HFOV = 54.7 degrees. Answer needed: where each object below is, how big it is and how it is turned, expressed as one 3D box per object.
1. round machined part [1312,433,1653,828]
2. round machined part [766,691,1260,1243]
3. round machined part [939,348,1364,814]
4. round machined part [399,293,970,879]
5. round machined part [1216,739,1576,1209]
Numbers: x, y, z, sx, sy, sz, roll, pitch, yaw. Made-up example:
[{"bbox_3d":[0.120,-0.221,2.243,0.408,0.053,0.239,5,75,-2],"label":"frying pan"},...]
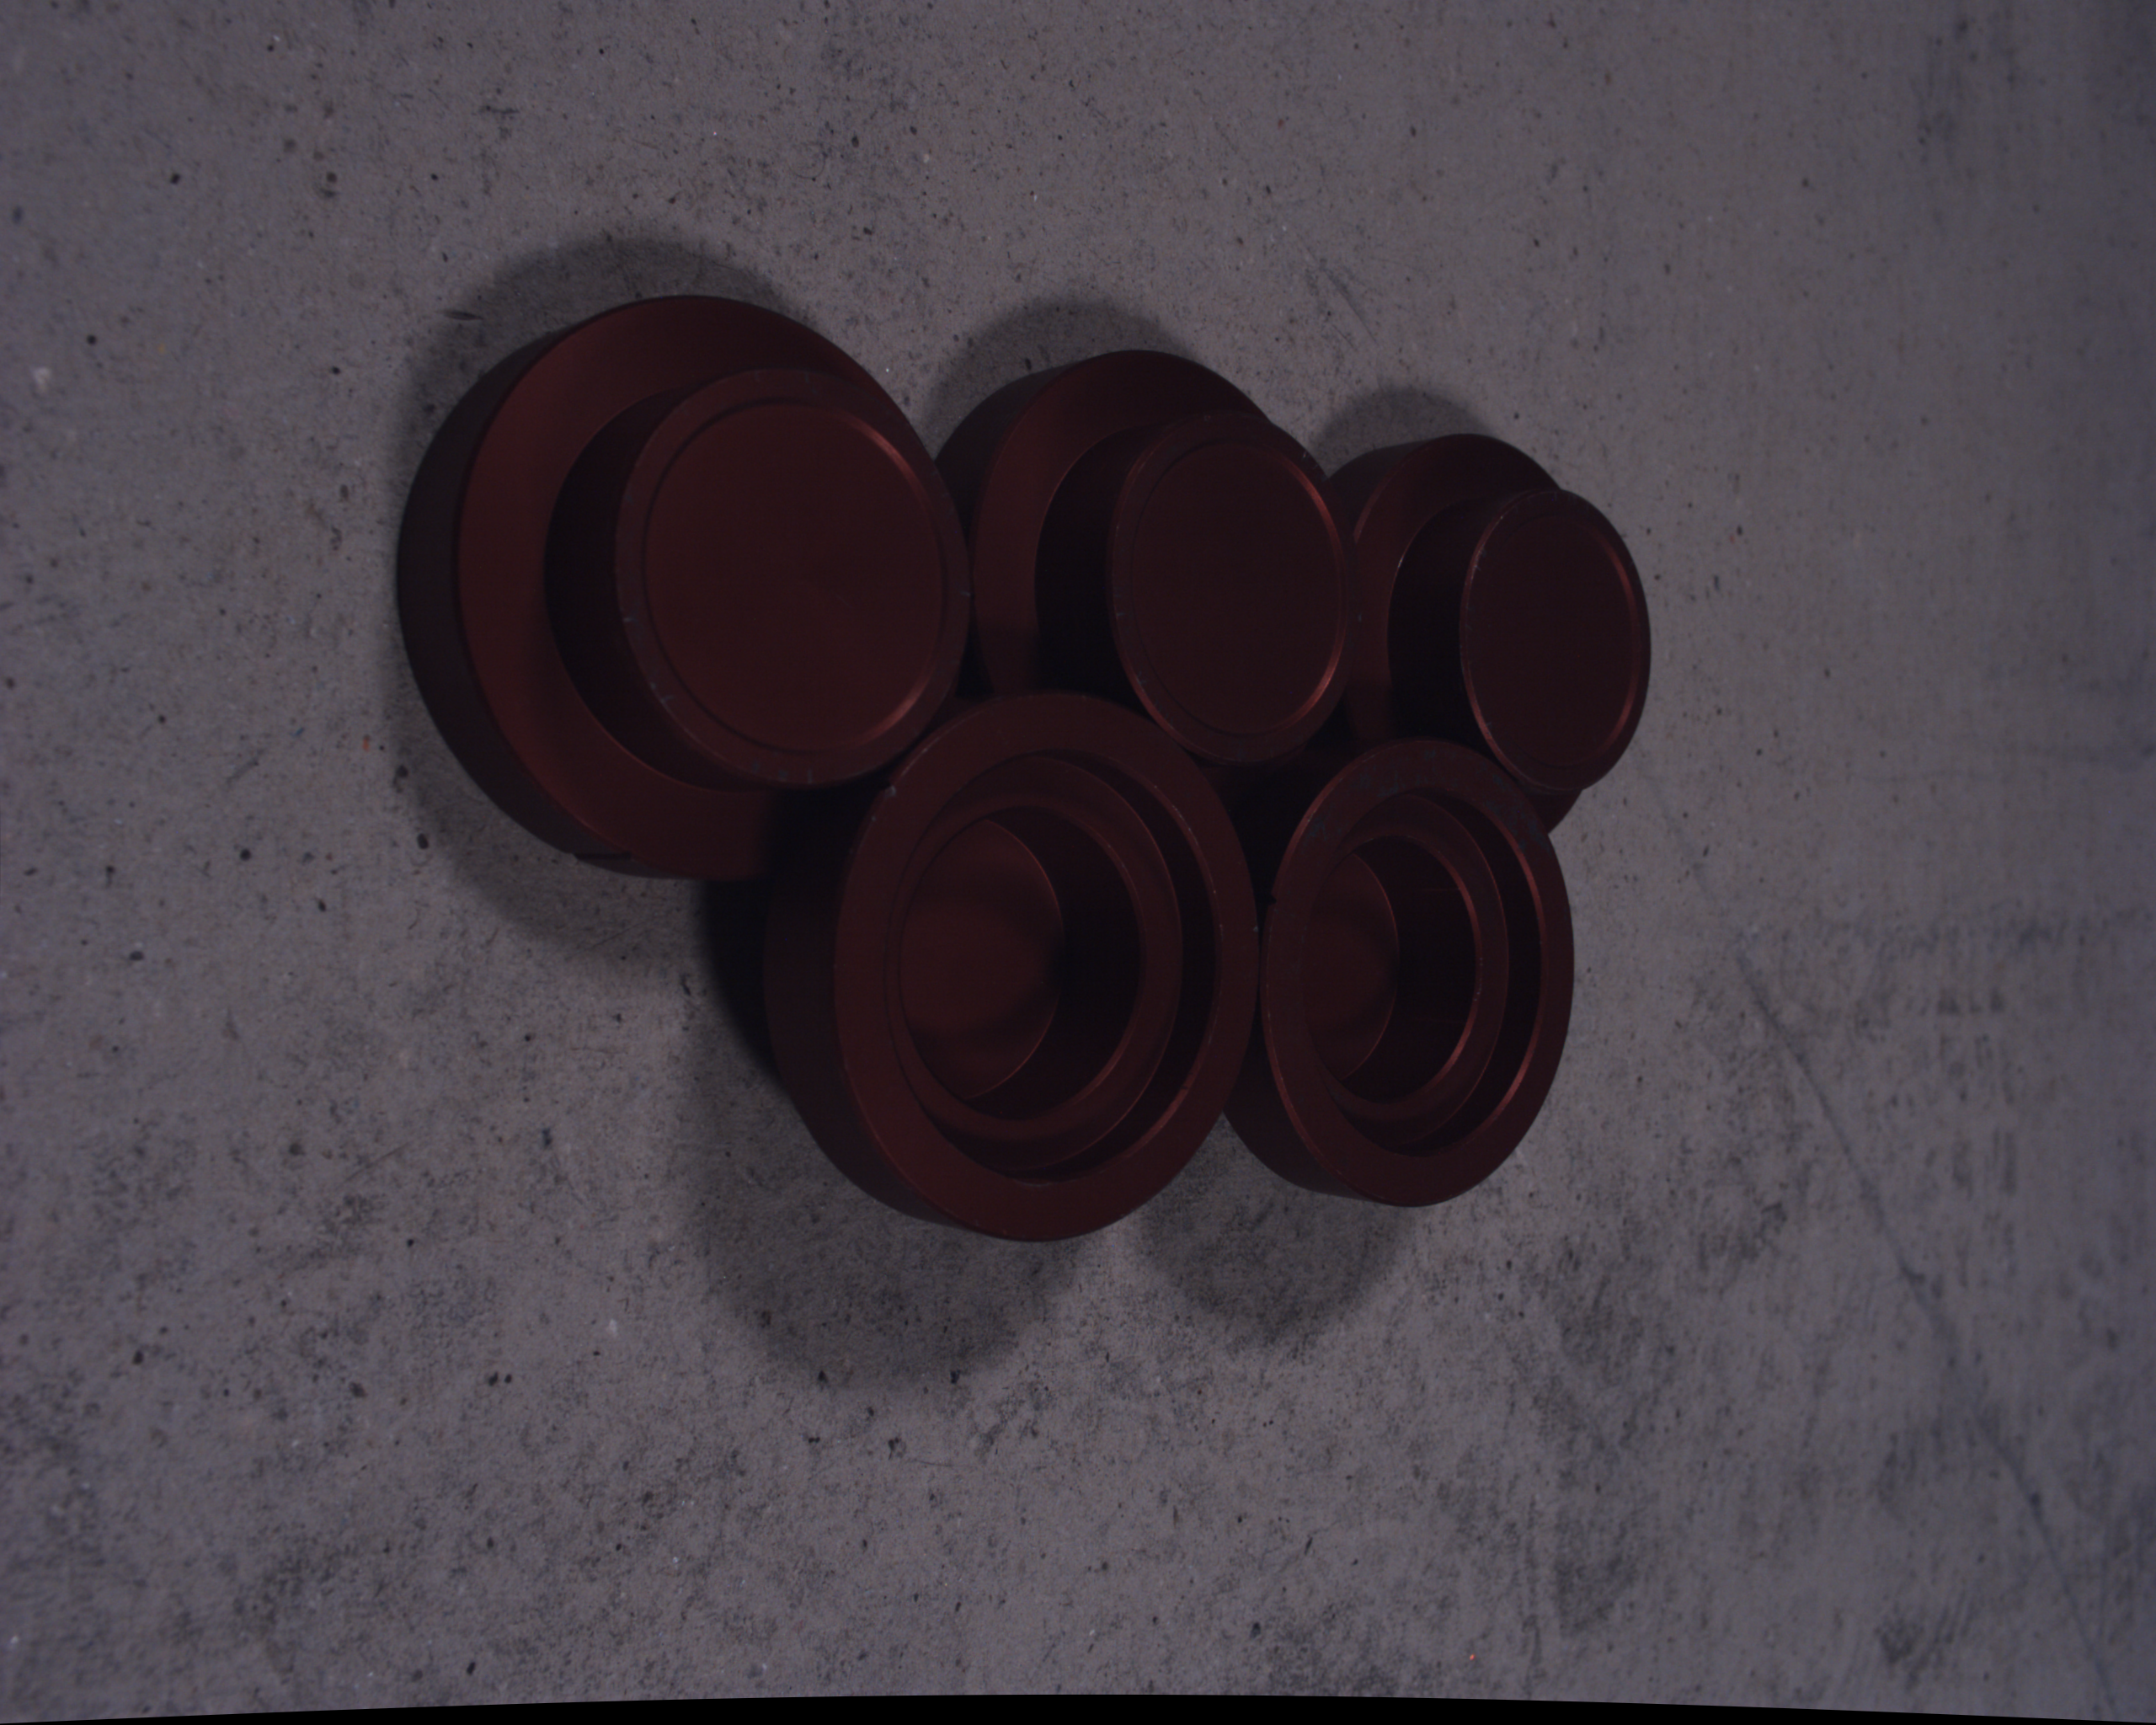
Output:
[{"bbox_3d":[0.094,-0.049,0.477,0.099,0.042,0.097,0,90,-40],"label":"round machined part"},{"bbox_3d":[-0.016,0.018,0.384,0.099,0.042,0.097,0,90,-40],"label":"round machined part"},{"bbox_3d":[0.018,-0.053,0.413,0.099,0.042,0.097,0,90,-40],"label":"round machined part"},{"bbox_3d":[-0.058,-0.046,0.348,0.099,0.042,0.097,0,90,-40],"label":"round machined part"},{"bbox_3d":[0.060,0.023,0.448,0.099,0.042,0.097,0,90,-40],"label":"round machined part"}]
